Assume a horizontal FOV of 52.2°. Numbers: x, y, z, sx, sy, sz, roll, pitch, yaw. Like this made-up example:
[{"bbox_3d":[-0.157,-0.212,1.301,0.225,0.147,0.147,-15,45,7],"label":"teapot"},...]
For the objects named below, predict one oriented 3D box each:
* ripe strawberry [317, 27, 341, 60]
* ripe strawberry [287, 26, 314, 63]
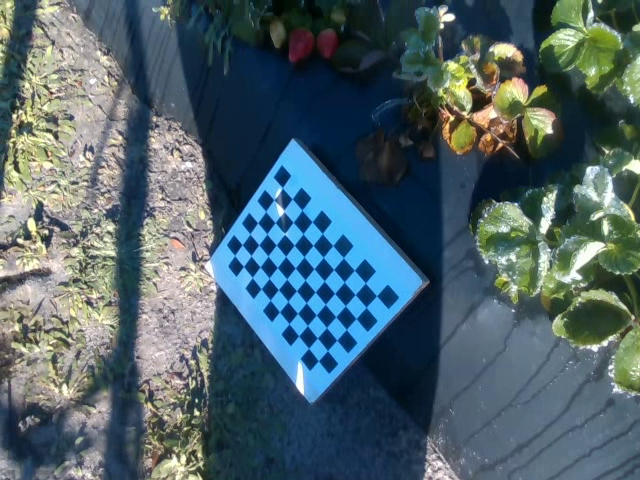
[{"bbox_3d":[0.011,-0.257,0.851,0.036,0.041,0.030,-21,-12,34],"label":"ripe strawberry"},{"bbox_3d":[-0.029,-0.252,0.858,0.037,0.051,0.039,8,-27,33],"label":"ripe strawberry"}]
